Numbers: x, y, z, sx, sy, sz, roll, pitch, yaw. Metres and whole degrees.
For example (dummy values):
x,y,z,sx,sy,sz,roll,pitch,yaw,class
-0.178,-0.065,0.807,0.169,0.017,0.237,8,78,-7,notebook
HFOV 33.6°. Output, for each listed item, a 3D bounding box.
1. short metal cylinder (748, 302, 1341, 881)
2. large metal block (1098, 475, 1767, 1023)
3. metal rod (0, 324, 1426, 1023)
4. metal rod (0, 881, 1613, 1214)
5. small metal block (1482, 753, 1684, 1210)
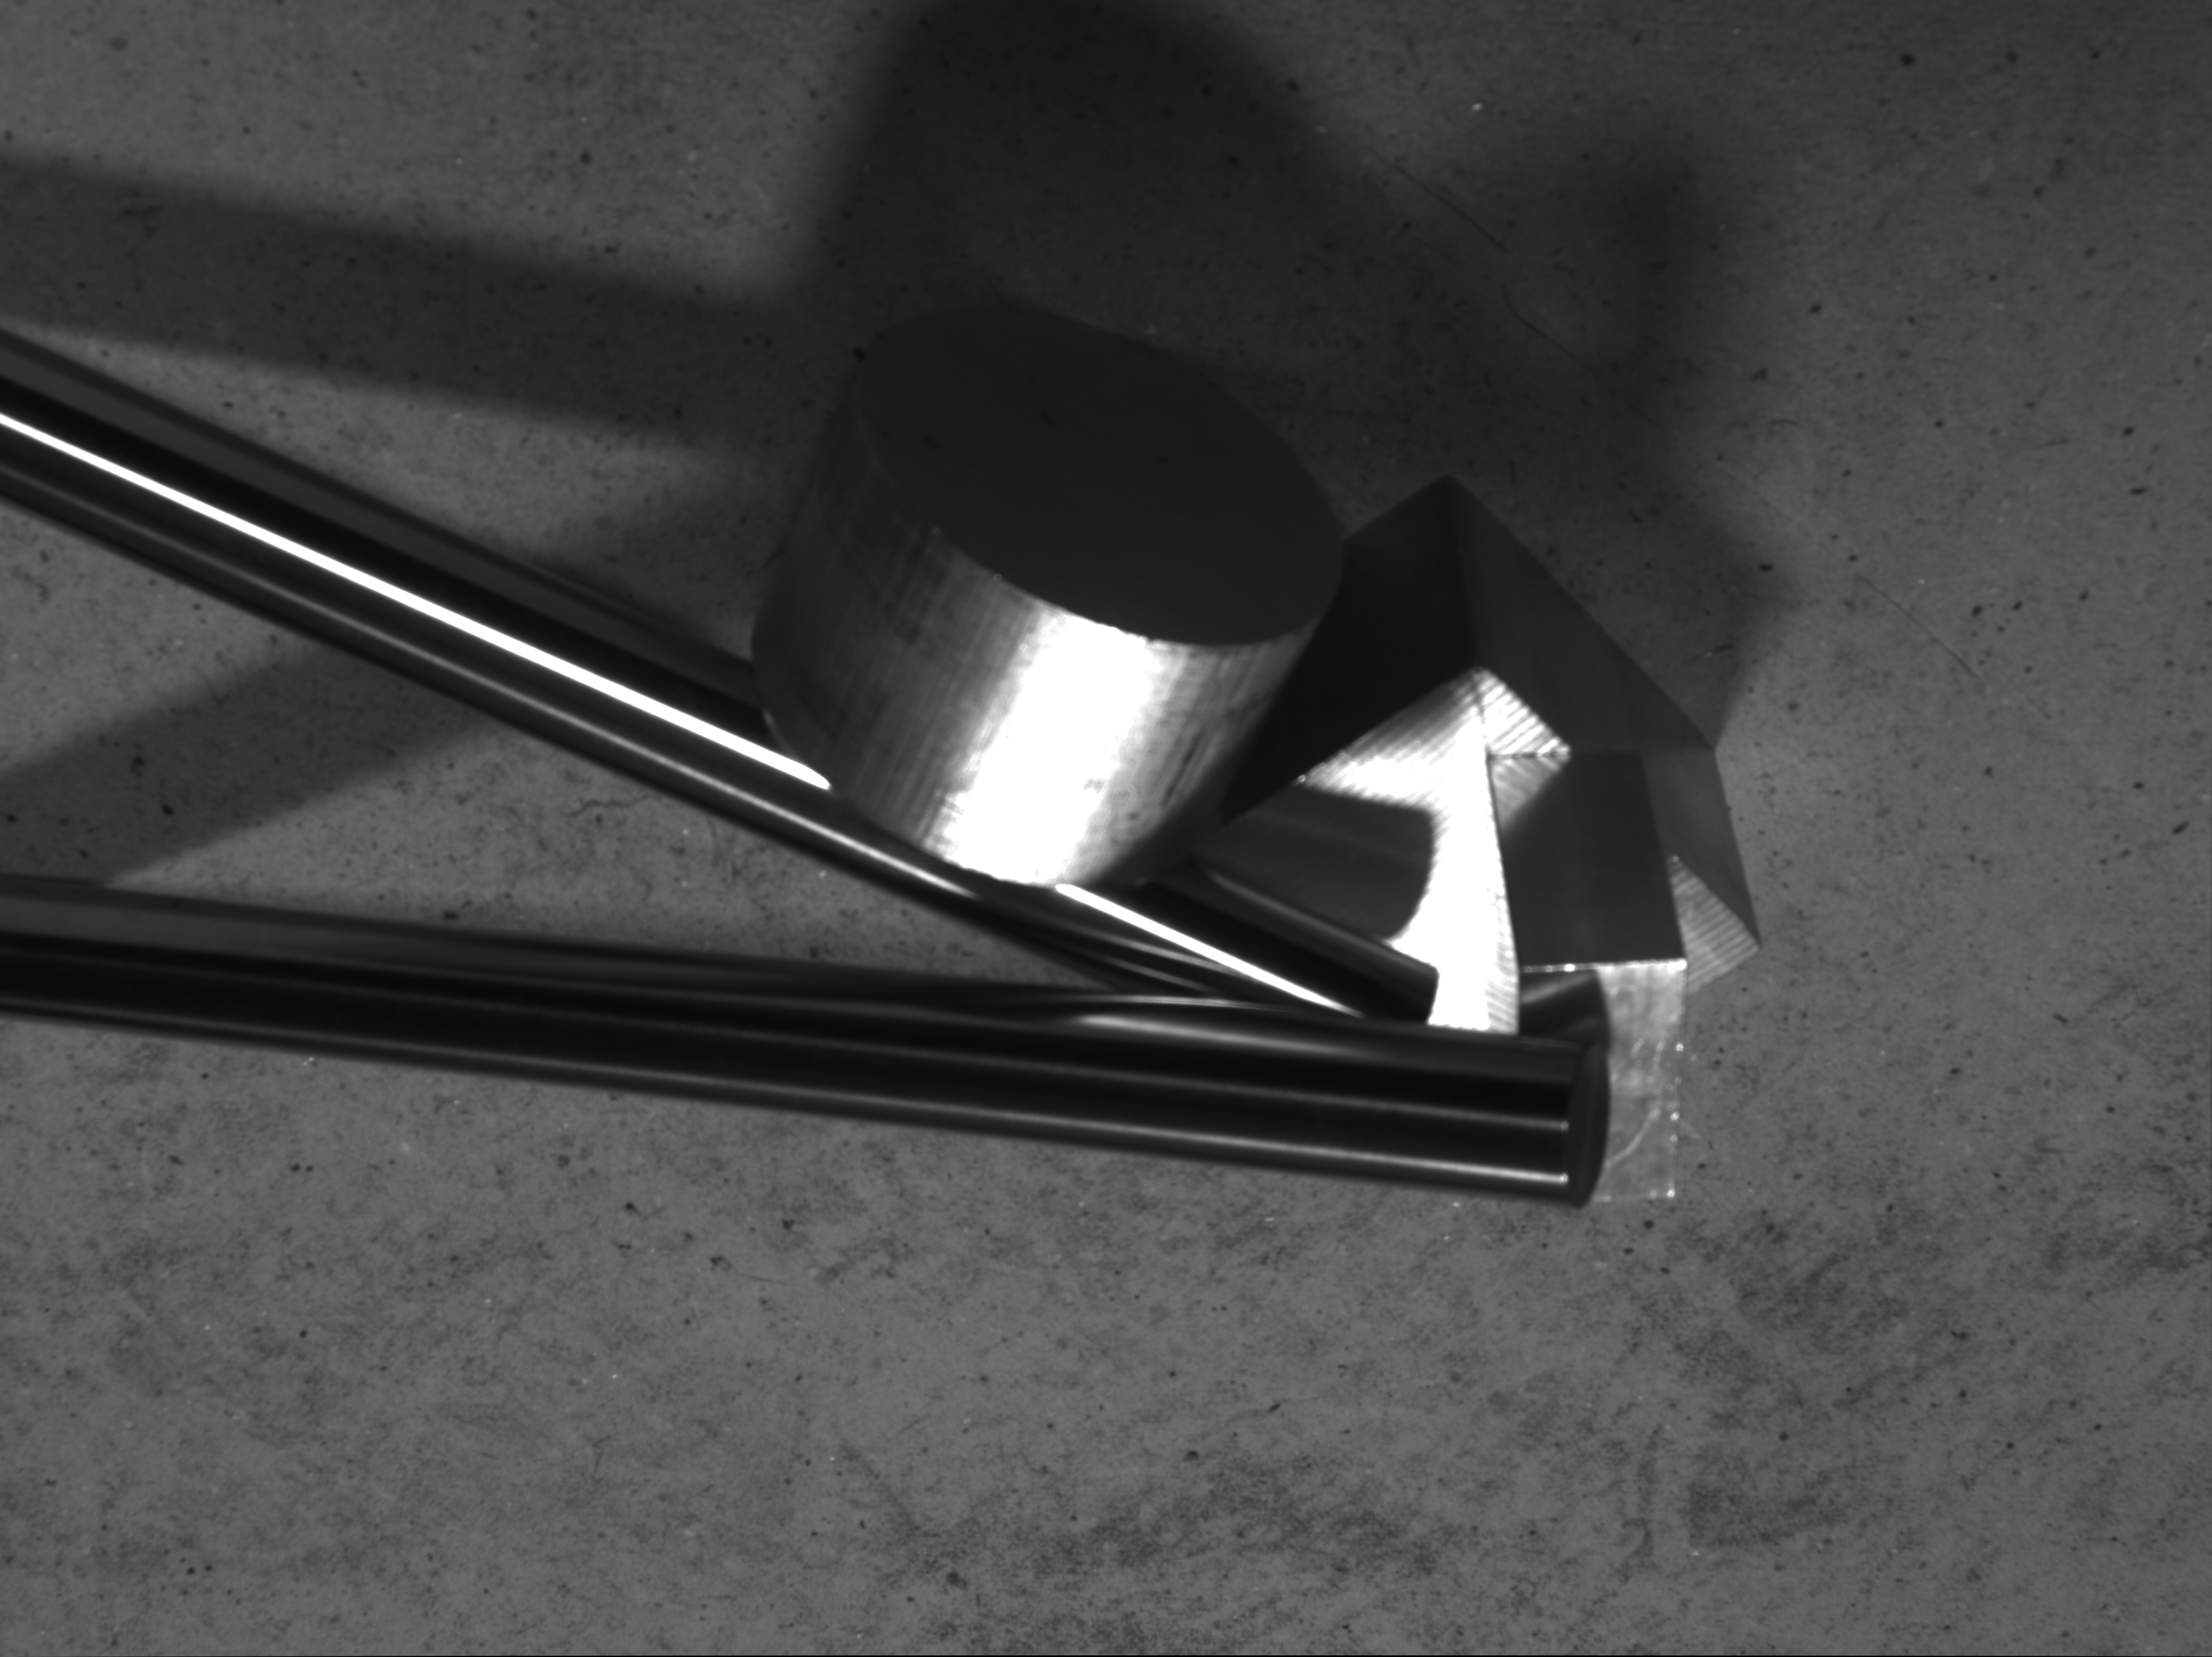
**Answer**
x,y,z,sx,sy,sz,roll,pitch,yaw,class
-0.010,-0.038,0.572,0.080,0.080,0.050,16,128,-15,short metal cylinder
0.053,0.001,0.623,0.080,0.050,0.080,-33,123,25,large metal block
-0.091,-0.029,0.574,0.300,0.025,0.025,24,126,-6,metal rod
-0.067,0.033,0.594,0.299,0.025,0.025,5,133,22,metal rod
0.074,0.024,0.576,0.025,0.050,0.050,-3,130,1,small metal block
